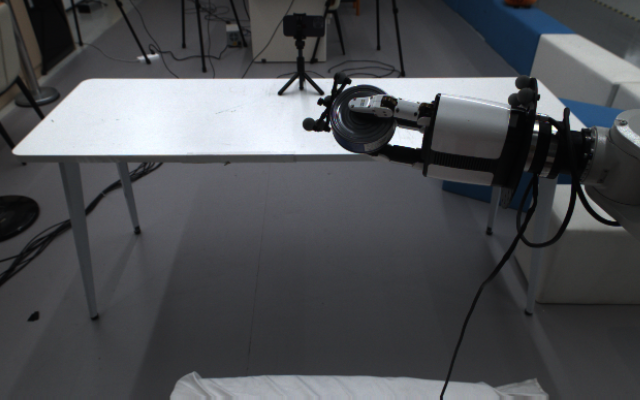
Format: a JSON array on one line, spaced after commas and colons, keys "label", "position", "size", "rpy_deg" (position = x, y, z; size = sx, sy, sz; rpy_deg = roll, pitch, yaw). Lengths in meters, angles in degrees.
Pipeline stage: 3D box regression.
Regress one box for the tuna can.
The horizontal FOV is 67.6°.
[{"label": "tuna can", "position": [0.057, -0.107, 0.631], "size": [0.085, 0.034, 0.085], "rpy_deg": [-2, 71, 5]}]
